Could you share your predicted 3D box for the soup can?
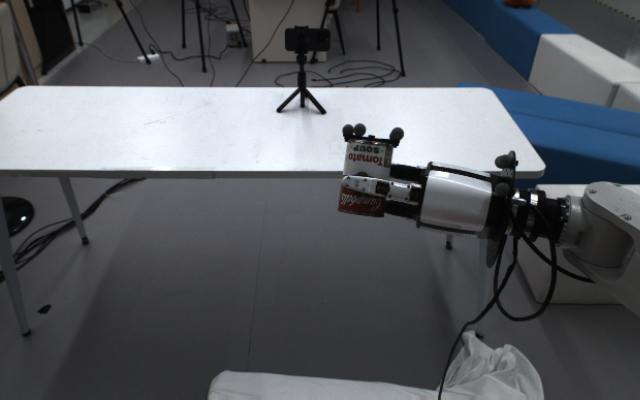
[{"bbox_3d":[0.066,-0.032,0.687,0.067,0.101,0.067,7,4,0],"label":"soup can"}]
